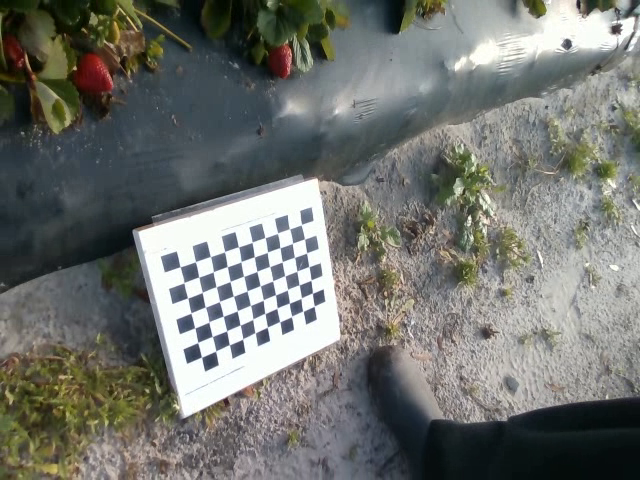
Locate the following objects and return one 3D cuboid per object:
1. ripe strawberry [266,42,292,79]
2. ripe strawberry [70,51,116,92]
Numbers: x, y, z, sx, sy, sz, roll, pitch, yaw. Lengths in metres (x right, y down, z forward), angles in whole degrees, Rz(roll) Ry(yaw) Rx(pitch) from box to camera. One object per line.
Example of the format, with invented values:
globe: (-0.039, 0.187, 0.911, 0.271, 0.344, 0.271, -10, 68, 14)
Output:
ripe strawberry: (-0.034, -0.161, 0.578, 0.029, 0.036, 0.021, -17, 9, -30)
ripe strawberry: (-0.167, -0.119, 0.472, 0.030, 0.032, 0.025, 37, -18, -15)
